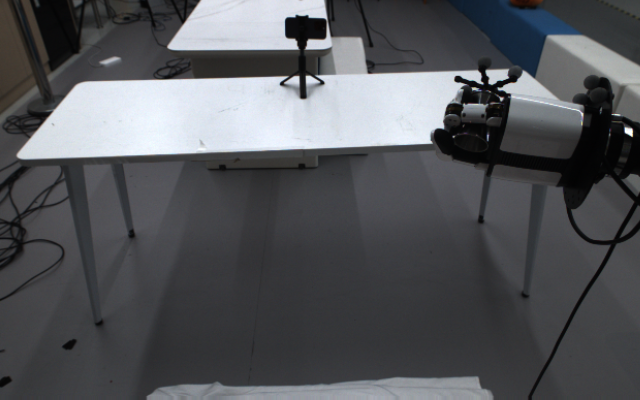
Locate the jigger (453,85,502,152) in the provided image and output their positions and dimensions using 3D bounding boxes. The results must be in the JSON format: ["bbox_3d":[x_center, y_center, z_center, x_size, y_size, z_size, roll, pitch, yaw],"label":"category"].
[{"bbox_3d":[0.202,-0.105,0.620,0.043,0.043,0.071,16,70,19],"label":"jigger"}]
